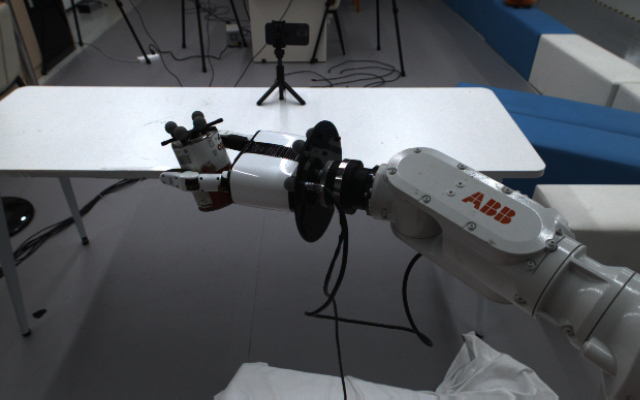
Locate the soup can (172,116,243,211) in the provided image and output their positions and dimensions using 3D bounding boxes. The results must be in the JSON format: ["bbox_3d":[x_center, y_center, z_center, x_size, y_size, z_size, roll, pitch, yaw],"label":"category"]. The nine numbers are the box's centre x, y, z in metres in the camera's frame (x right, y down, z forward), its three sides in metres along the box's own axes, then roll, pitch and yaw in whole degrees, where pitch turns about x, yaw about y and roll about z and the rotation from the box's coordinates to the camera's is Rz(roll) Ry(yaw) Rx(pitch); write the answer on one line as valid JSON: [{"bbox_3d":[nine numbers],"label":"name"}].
[{"bbox_3d":[-0.156,-0.042,0.678,0.067,0.101,0.067,-16,23,7],"label":"soup can"}]
